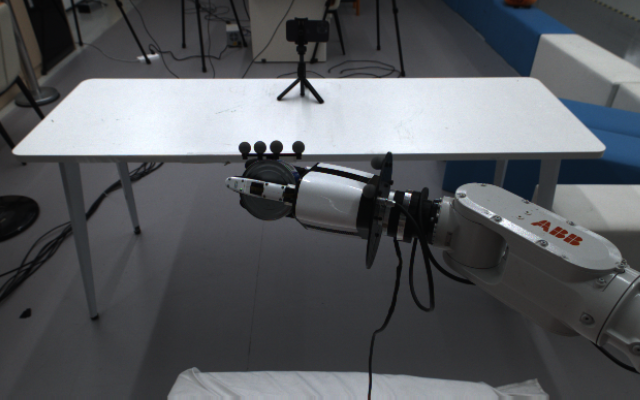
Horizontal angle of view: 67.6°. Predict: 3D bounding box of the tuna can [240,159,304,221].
[{"bbox_3d":[-0.068,-0.015,0.681,0.085,0.085,0.034,12,8,14],"label":"tuna can"}]
